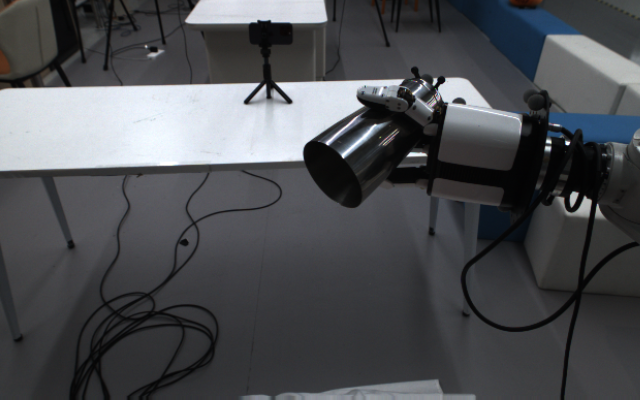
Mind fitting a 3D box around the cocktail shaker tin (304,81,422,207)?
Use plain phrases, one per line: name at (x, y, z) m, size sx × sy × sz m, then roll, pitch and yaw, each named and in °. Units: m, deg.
cocktail shaker tin at (0.073, -0.081, 0.582) m, size 0.170 × 0.093 × 0.093 m, roll -38°, pitch 50°, yaw -24°
